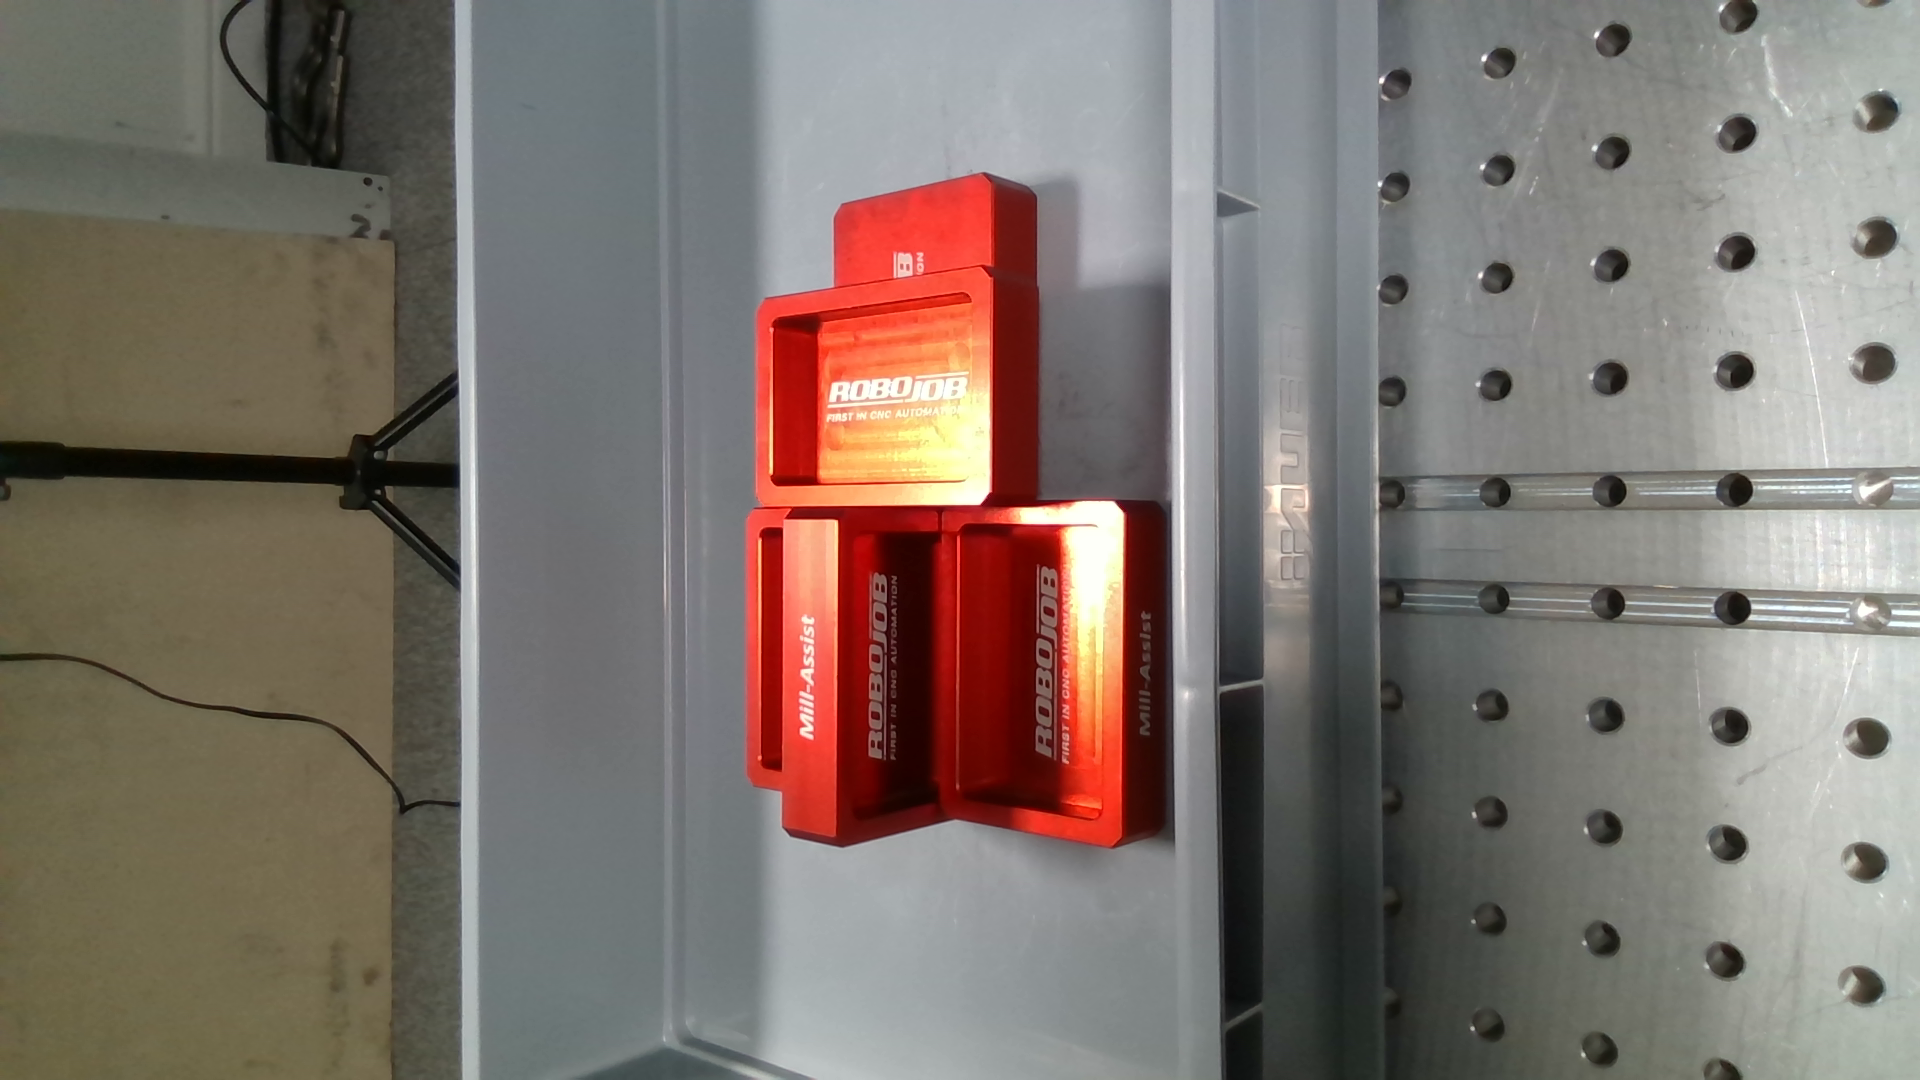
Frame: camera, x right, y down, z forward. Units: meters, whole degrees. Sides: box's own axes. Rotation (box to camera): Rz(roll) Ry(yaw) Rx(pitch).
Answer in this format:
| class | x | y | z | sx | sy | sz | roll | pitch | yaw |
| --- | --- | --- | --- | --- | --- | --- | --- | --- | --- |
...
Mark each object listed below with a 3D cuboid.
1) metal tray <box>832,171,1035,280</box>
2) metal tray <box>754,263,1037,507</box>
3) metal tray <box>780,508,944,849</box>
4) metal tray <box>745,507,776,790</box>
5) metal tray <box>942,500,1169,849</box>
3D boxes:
| class | x | y | z | sx | sy | sz | roll | pitch | yaw |
| --- | --- | --- | --- | --- | --- | --- | --- | --- | --- |
| metal tray | -0.013 | -0.082 | 0.585 | 0.090 | 0.030 | 0.130 | 0 | 91 | 40 |
| metal tray | -0.030 | -0.059 | 0.561 | 0.130 | 0.030 | 0.090 | 1 | 91 | 40 |
| metal tray | -0.030 | 0.052 | 0.563 | 0.030 | 0.090 | 0.130 | 1 | 91 | 40 |
| metal tray | -0.057 | 0.050 | 0.626 | 0.090 | 0.030 | 0.130 | 1 | 91 | 40 |
| metal tray | 0.036 | 0.050 | 0.548 | 0.090 | 0.030 | 0.130 | 1 | 91 | 40 |
